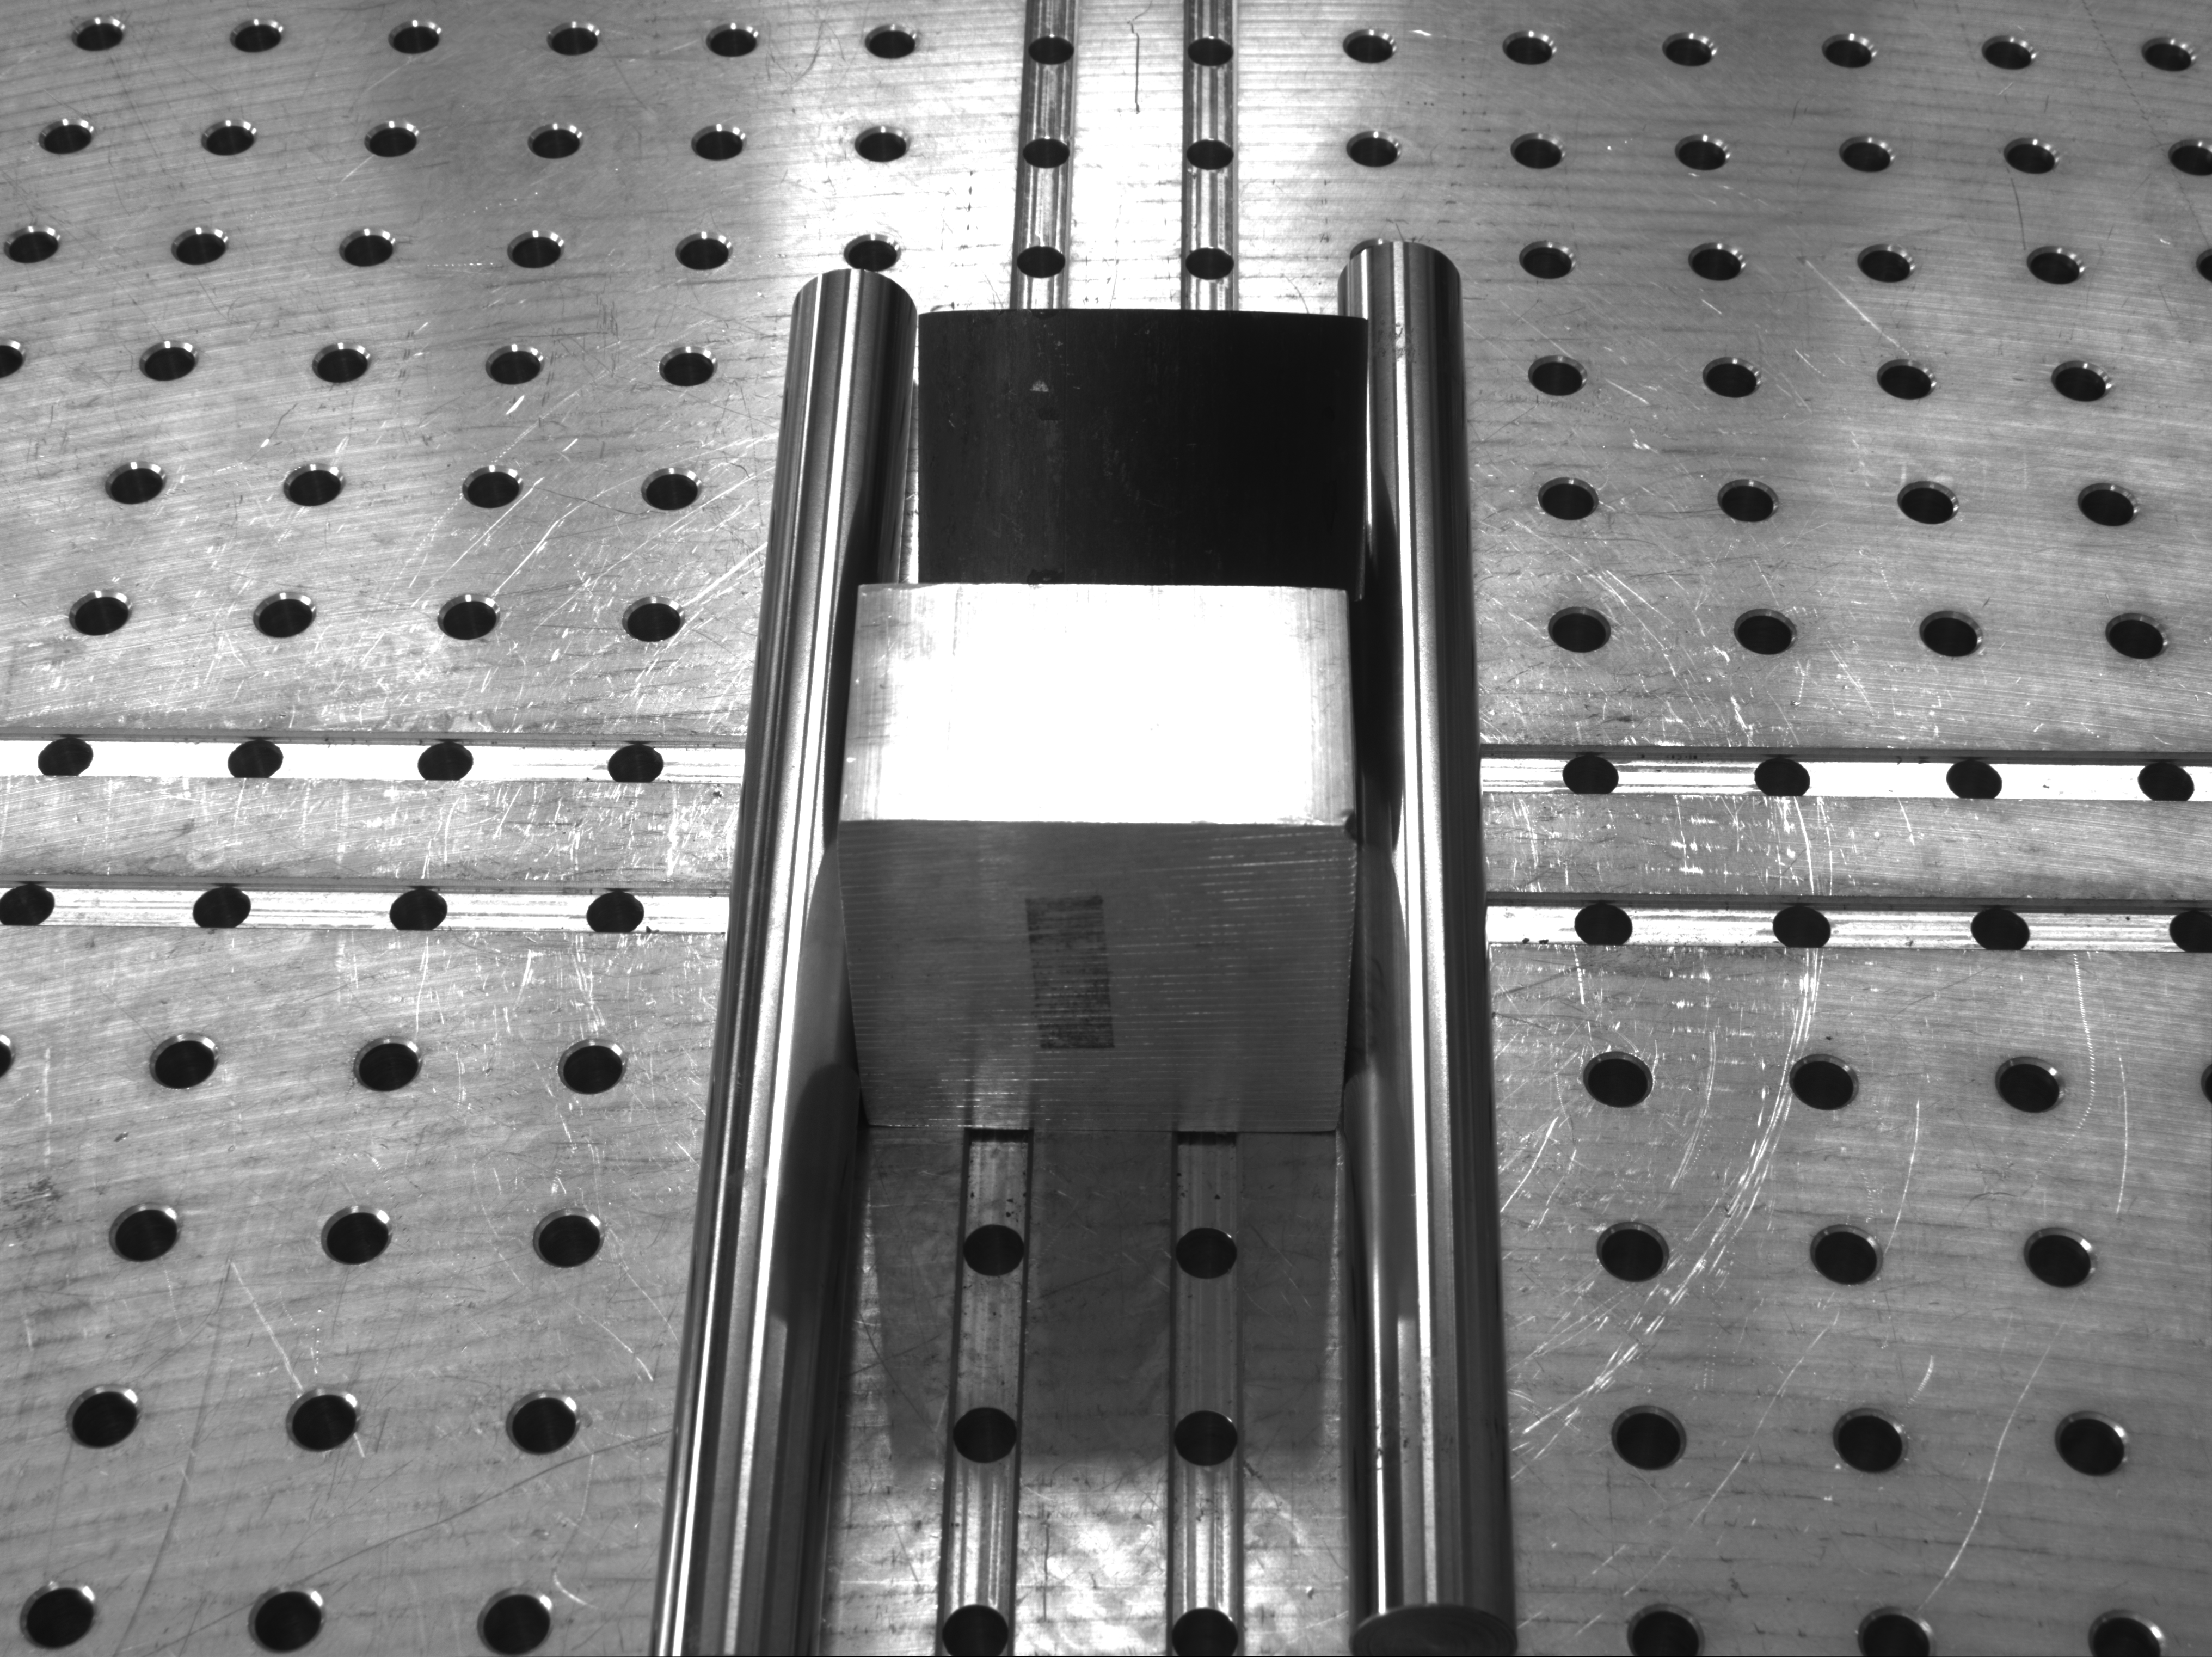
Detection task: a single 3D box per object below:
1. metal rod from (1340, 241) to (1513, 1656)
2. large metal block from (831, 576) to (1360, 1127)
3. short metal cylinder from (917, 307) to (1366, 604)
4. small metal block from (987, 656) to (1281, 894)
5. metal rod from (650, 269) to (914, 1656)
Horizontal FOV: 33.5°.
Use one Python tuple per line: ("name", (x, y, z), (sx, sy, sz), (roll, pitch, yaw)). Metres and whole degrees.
("metal rod", (0.053, 0.006, 0.640), (0.025, 0.025, 0.300), (2, 50, 2))
("large metal block", (-0.001, 0.005, 0.603), (0.080, 0.080, 0.050), (1, 50, 1))
("short metal cylinder", (0.006, -0.066, 0.657), (0.080, 0.050, 0.080), (1, 6, 0))
("small metal block", (0.005, -0.013, 0.640), (0.050, 0.050, 0.025), (1, 50, 1))
("metal rod", (-0.052, 0.013, 0.635), (0.025, 0.025, 0.300), (1, 50, 1))
